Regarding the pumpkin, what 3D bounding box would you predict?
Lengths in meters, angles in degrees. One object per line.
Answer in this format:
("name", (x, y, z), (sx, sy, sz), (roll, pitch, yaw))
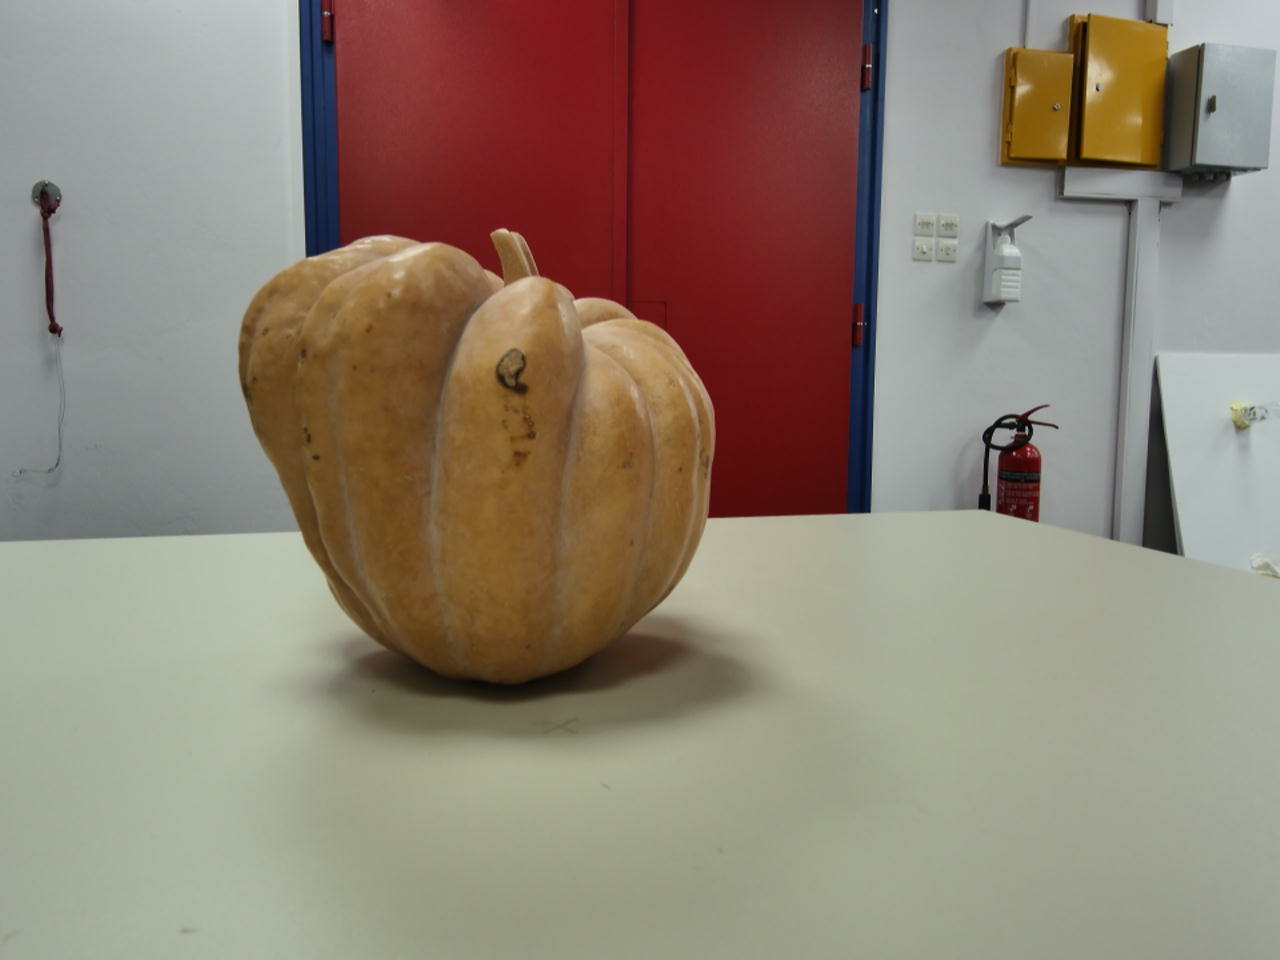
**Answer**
("pumpkin", (-0.062, -0.012, 0.410), (0.199, 0.177, 0.198), (0, 5, 0))
